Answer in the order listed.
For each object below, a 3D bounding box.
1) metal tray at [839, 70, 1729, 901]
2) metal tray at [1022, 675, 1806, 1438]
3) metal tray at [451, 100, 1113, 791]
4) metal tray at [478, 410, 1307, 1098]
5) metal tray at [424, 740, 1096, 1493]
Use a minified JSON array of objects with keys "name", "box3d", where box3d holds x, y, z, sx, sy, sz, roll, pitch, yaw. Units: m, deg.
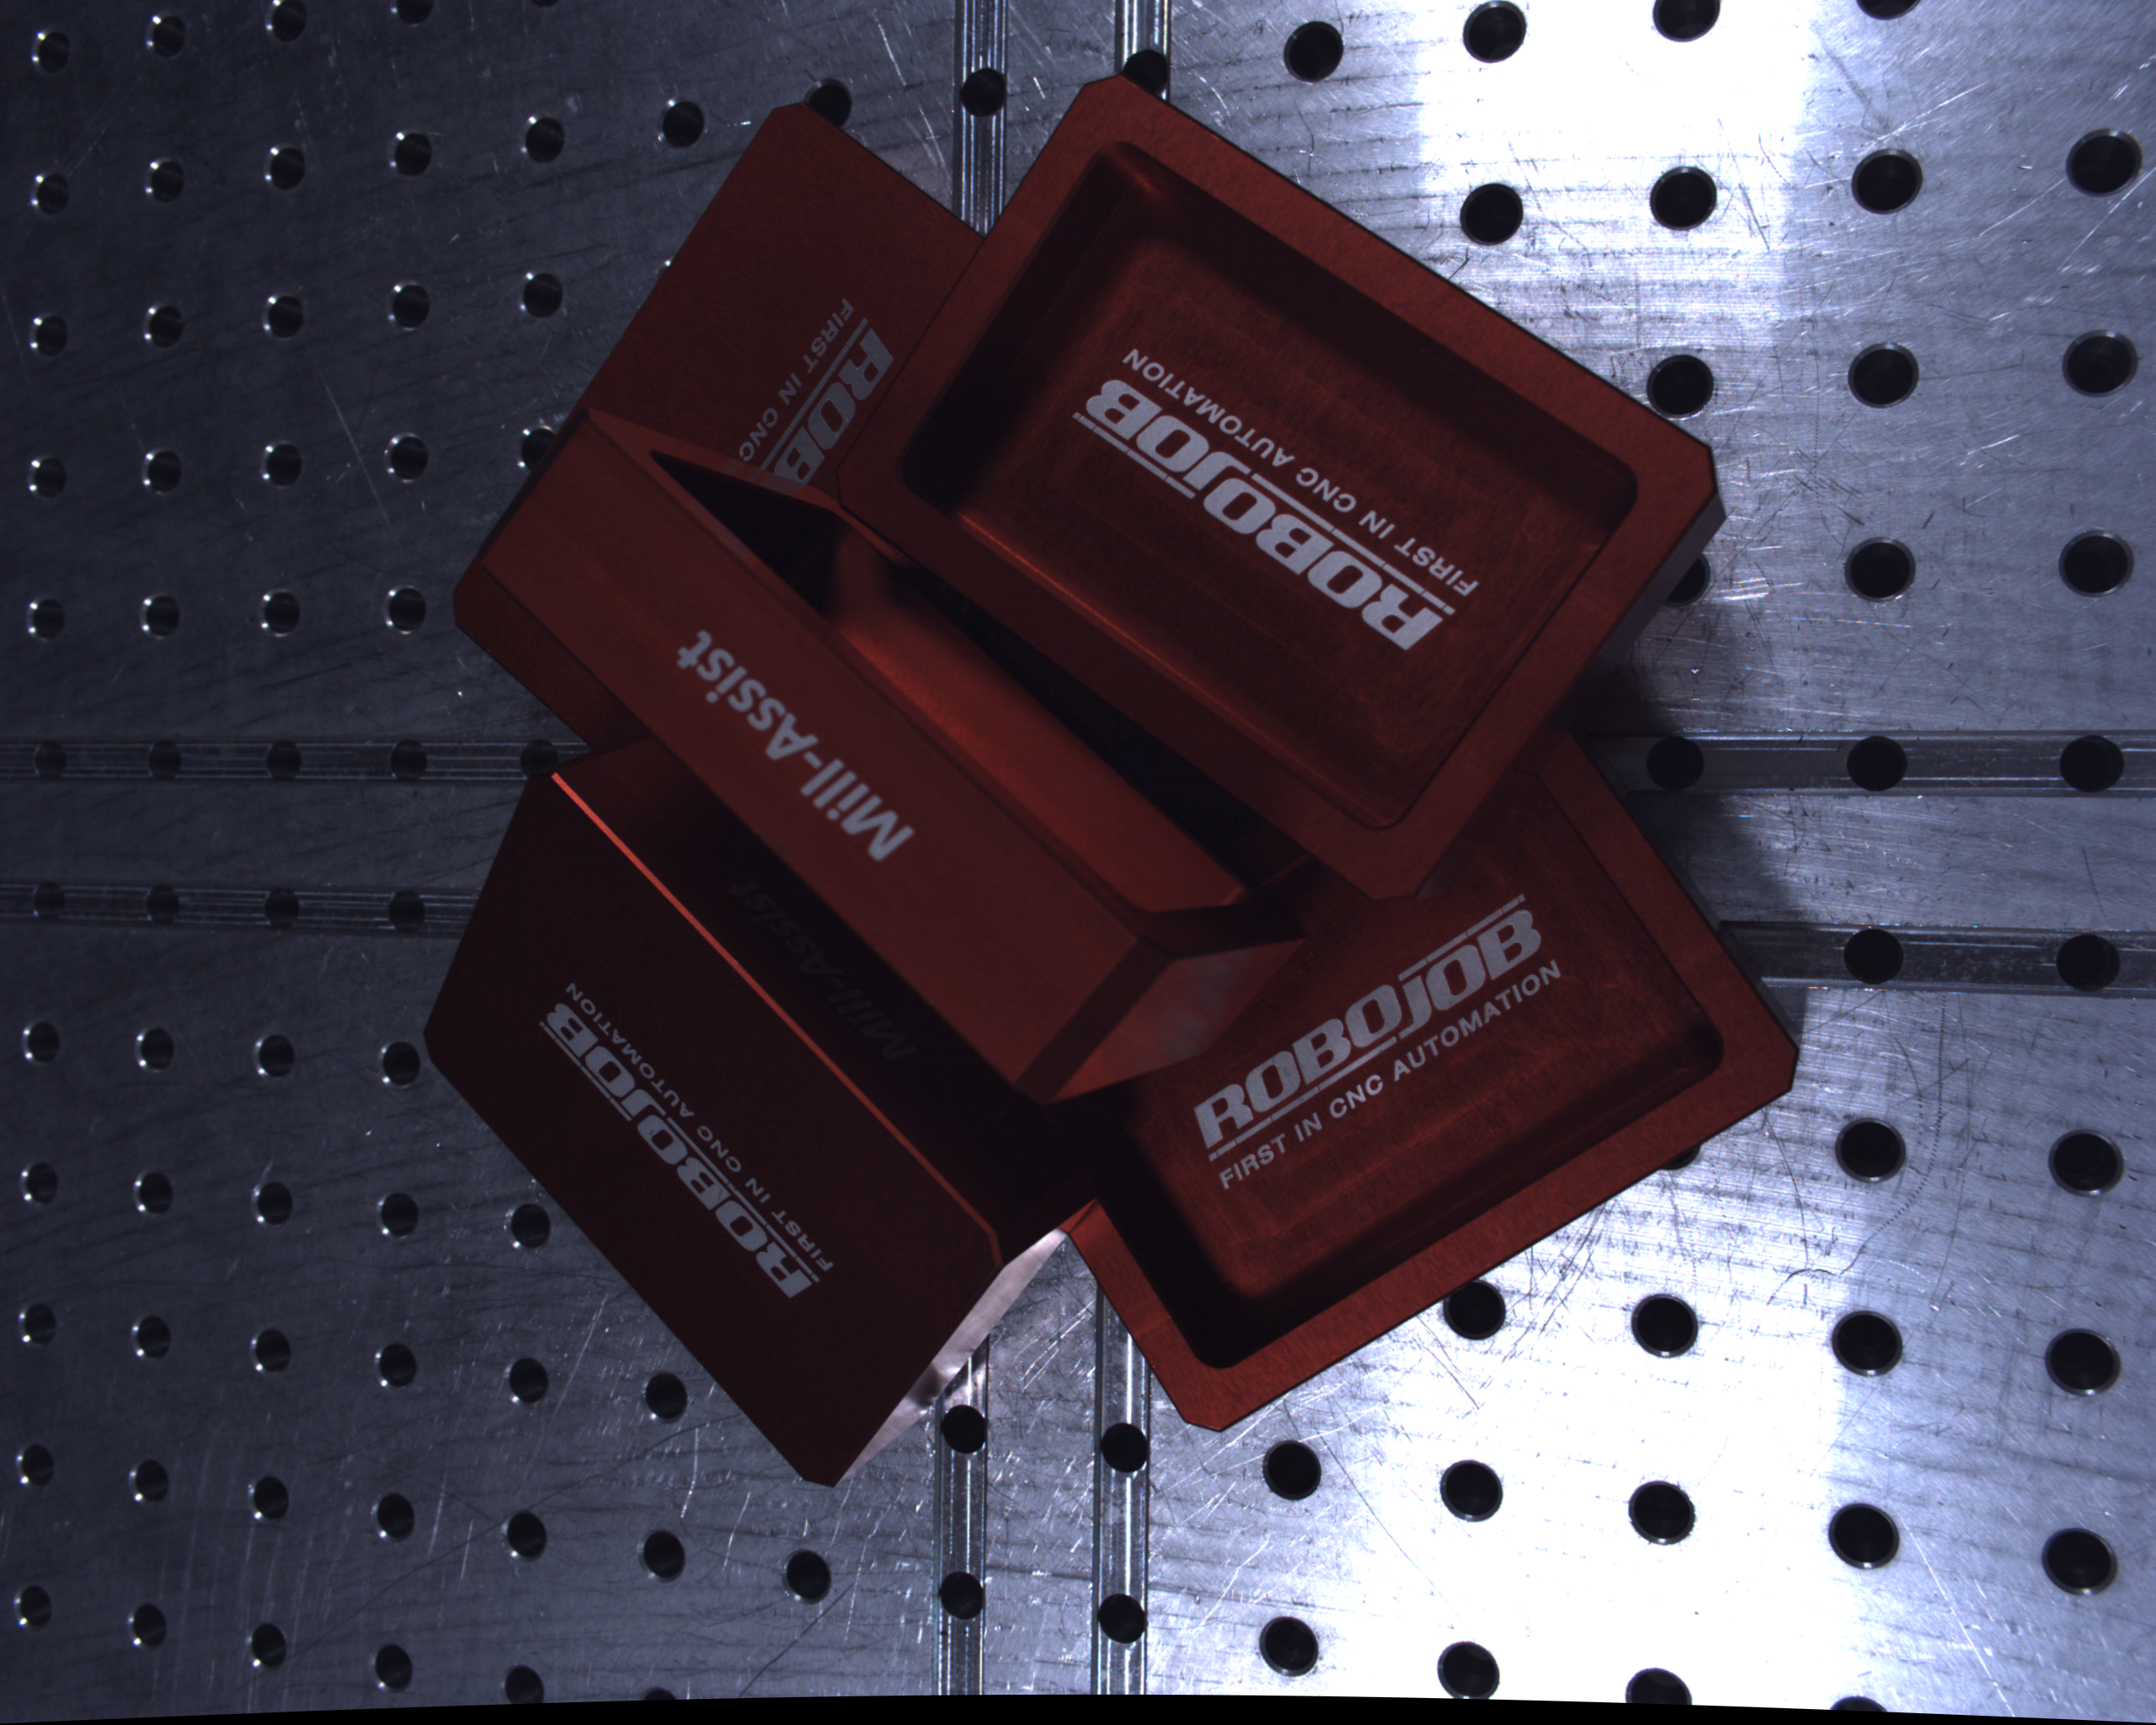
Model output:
[{"name":"metal tray","box3d":[0.034,-0.065,0.365,0.130,0.030,0.090,38,102,15]},{"name":"metal tray","box3d":[0.055,0.036,0.389,0.130,0.030,0.090,-35,79,16]},{"name":"metal tray","box3d":[-0.058,-0.076,0.428,0.090,0.030,0.130,40,102,15]},{"name":"metal tray","box3d":[-0.028,-0.019,0.354,0.130,0.090,0.030,42,103,14]},{"name":"metal tray","box3d":[-0.068,0.050,0.413,0.130,0.030,0.089,44,129,14]}]
